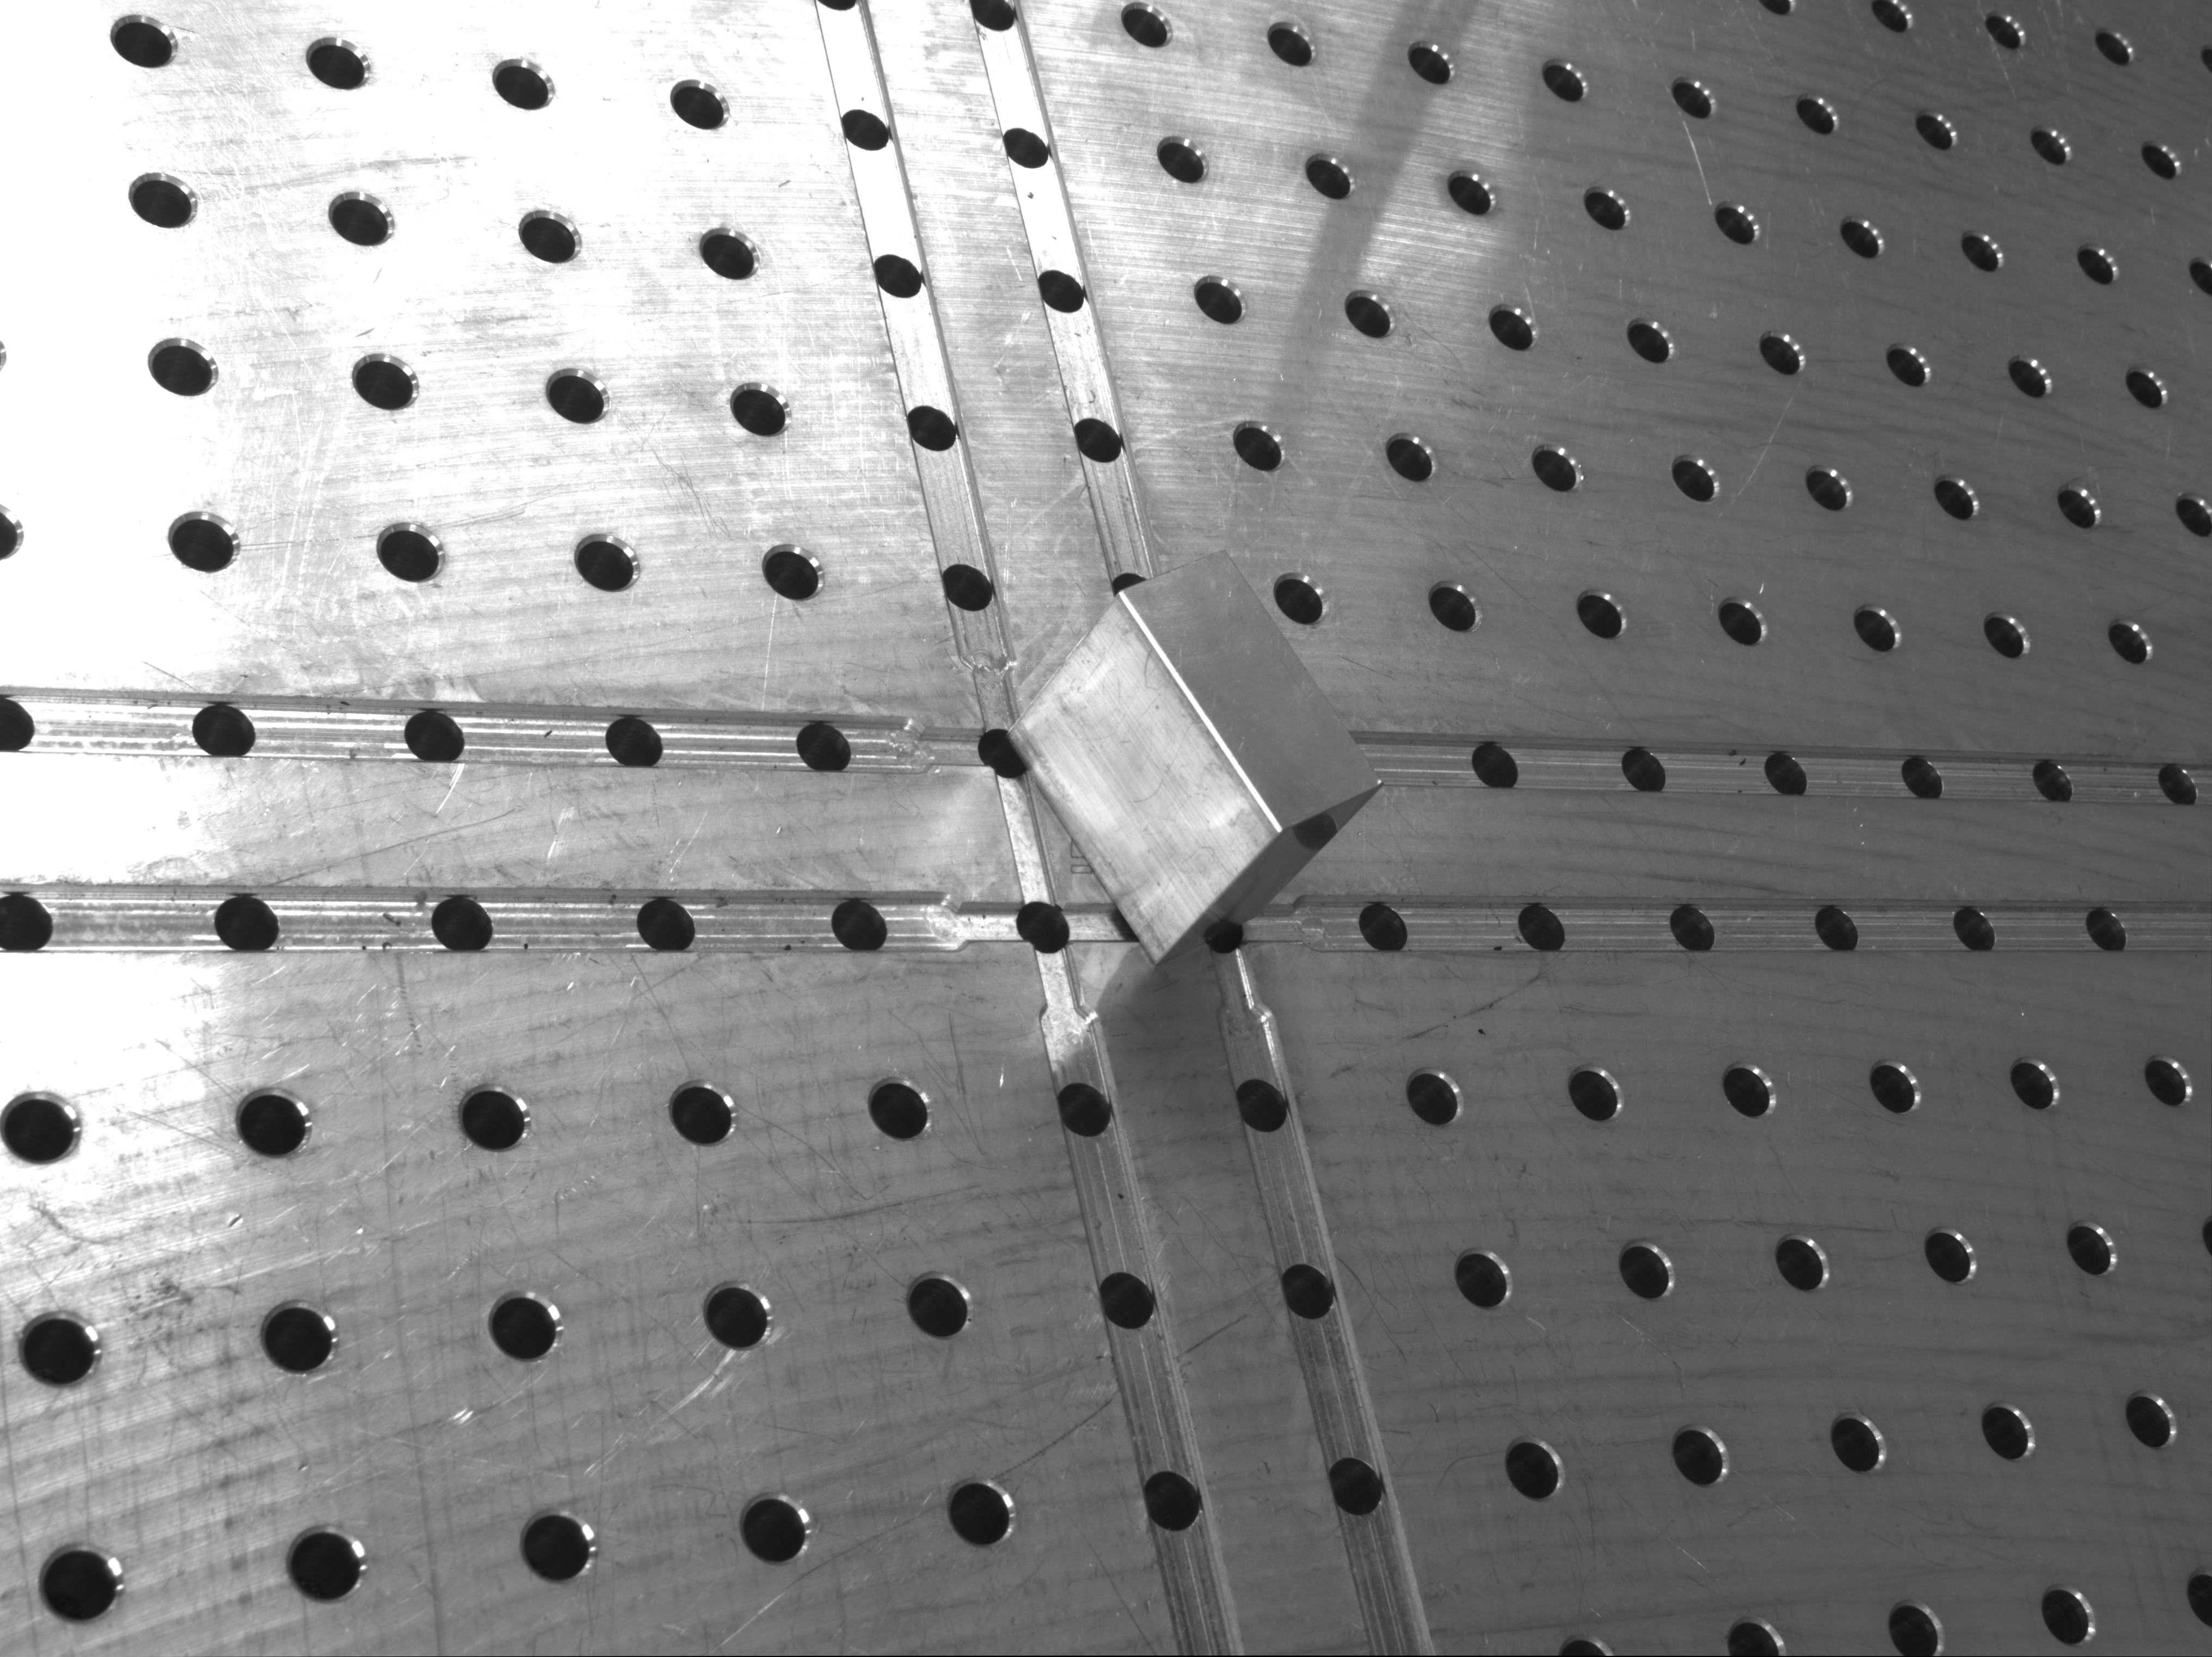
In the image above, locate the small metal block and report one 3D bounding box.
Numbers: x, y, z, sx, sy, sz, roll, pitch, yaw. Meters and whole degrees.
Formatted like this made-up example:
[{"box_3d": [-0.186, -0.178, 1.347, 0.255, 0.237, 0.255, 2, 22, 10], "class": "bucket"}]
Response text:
[{"box_3d": [0.015, -0.012, 0.641, 0.025, 0.050, 0.050, -24, 75, -36], "class": "small metal block"}]
